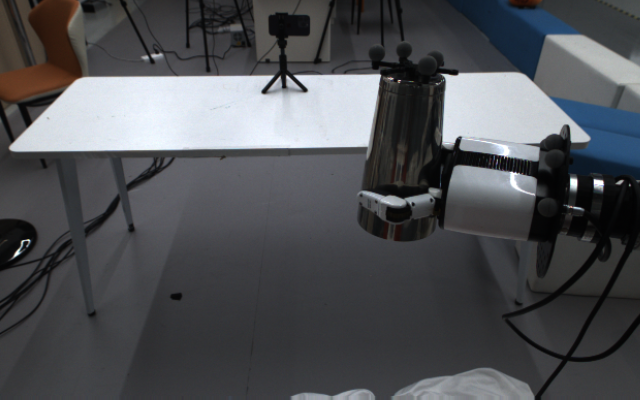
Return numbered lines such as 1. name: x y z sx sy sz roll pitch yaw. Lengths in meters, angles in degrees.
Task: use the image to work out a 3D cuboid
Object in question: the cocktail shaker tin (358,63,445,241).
1. cocktail shaker tin: 0.095 -0.051 0.533 0.093 0.170 0.093 1 28 -1
